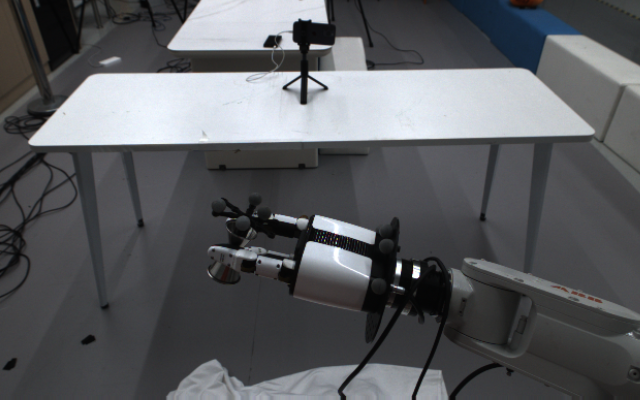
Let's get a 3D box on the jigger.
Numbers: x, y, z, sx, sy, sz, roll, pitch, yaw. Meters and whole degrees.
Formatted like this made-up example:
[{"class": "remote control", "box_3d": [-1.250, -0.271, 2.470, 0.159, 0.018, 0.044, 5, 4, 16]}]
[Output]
[{"class": "jigger", "box_3d": [-0.109, 0.065, 0.602, 0.043, 0.071, 0.043, 23, 19, -8]}]
